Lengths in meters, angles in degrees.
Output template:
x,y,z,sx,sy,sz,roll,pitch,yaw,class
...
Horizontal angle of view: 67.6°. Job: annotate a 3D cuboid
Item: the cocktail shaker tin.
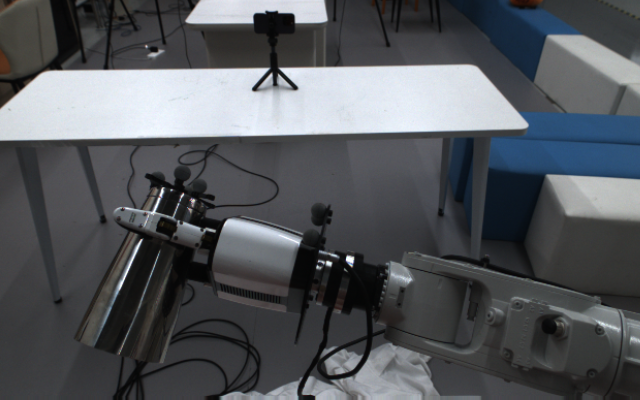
x,y,z,sx,sy,sz,roll,pitch,yaw,class
-0.180,0.076,0.523,0.093,0.093,0.170,12,73,14,cocktail shaker tin
